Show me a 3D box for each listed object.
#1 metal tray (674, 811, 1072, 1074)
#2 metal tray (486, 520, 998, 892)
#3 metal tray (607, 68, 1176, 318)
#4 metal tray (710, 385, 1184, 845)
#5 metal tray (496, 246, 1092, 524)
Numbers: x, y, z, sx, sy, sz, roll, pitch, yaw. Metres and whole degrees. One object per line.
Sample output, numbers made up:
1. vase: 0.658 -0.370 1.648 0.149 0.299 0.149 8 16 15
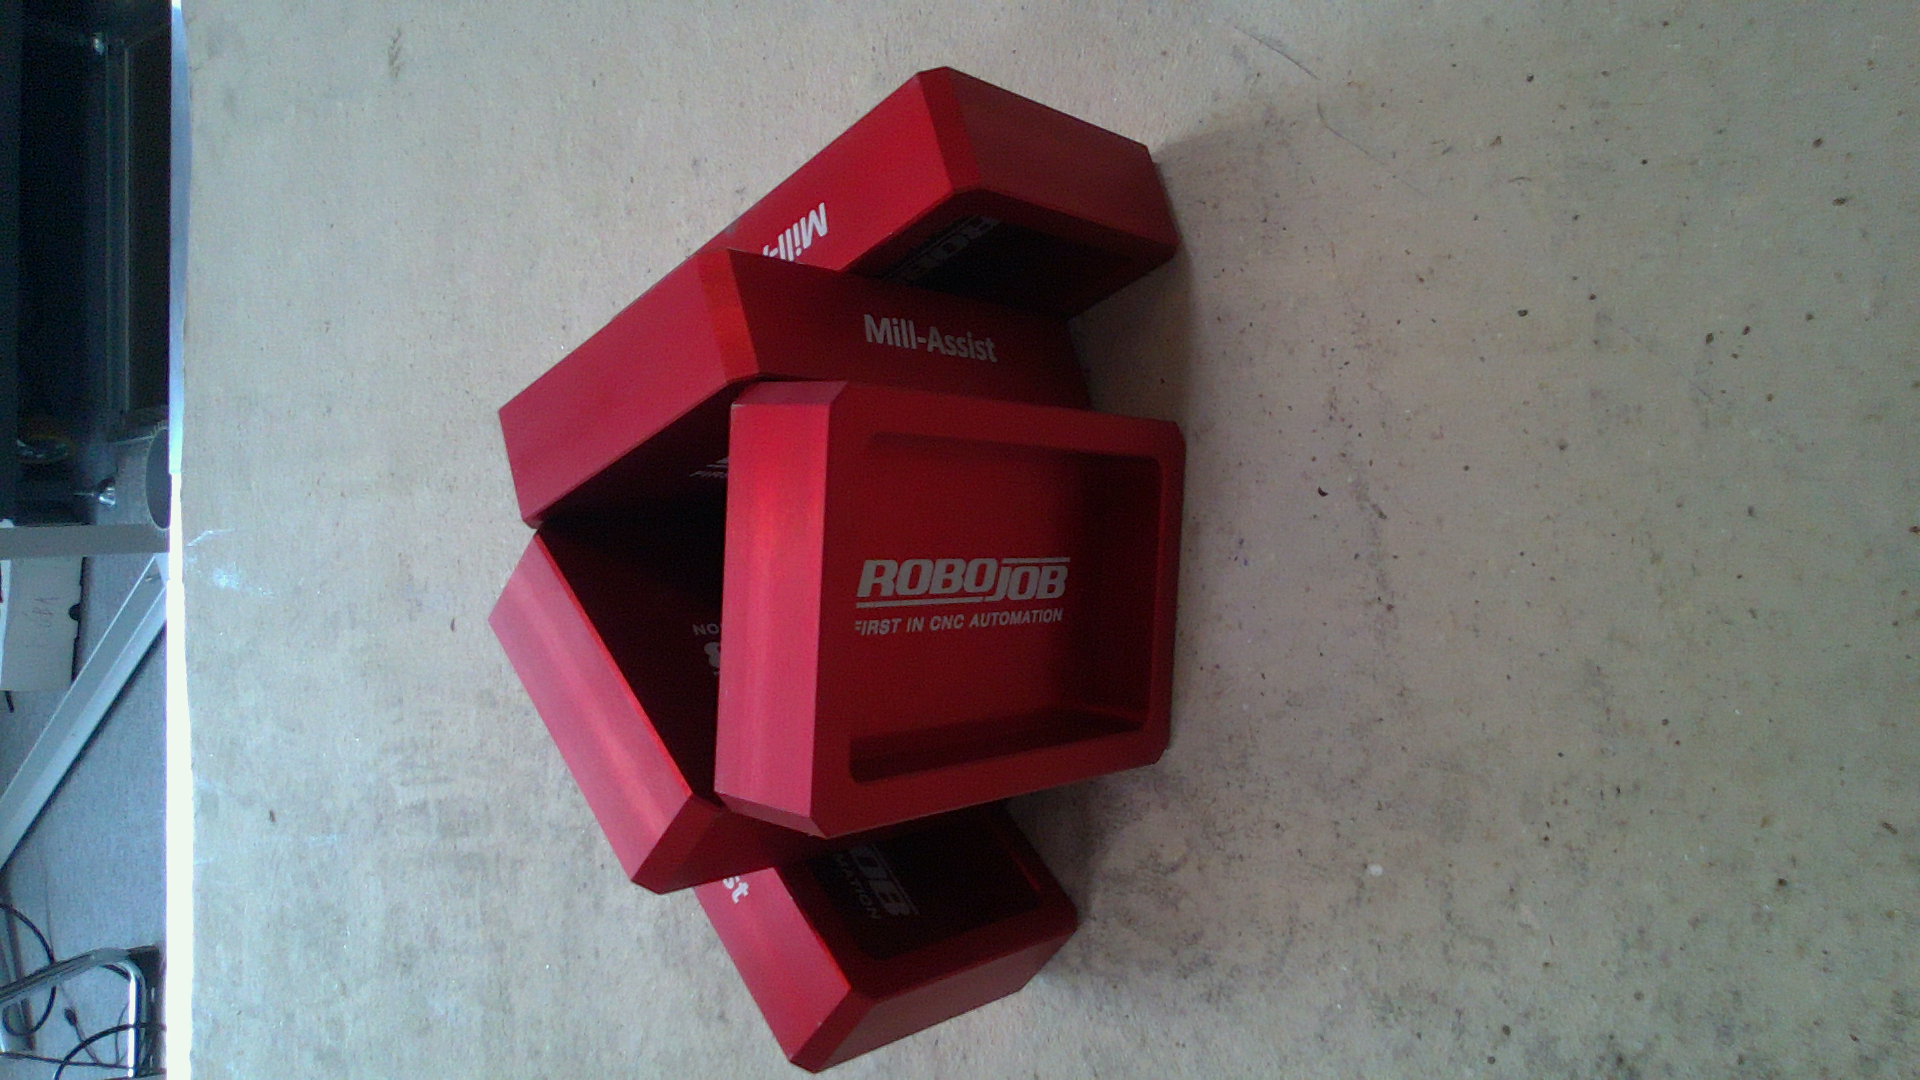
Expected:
1. metal tray: -0.038 0.073 0.384 0.130 0.090 0.030 51 121 27
2. metal tray: -0.045 0.037 0.364 0.090 0.131 0.030 51 120 28
3. metal tray: -0.020 -0.068 0.369 0.129 0.090 0.030 -26 74 37
4. metal tray: 0.003 0.014 0.323 0.030 0.131 0.090 6 94 40
5. metal tray: -0.039 -0.033 0.358 0.090 0.131 0.030 -26 74 37
